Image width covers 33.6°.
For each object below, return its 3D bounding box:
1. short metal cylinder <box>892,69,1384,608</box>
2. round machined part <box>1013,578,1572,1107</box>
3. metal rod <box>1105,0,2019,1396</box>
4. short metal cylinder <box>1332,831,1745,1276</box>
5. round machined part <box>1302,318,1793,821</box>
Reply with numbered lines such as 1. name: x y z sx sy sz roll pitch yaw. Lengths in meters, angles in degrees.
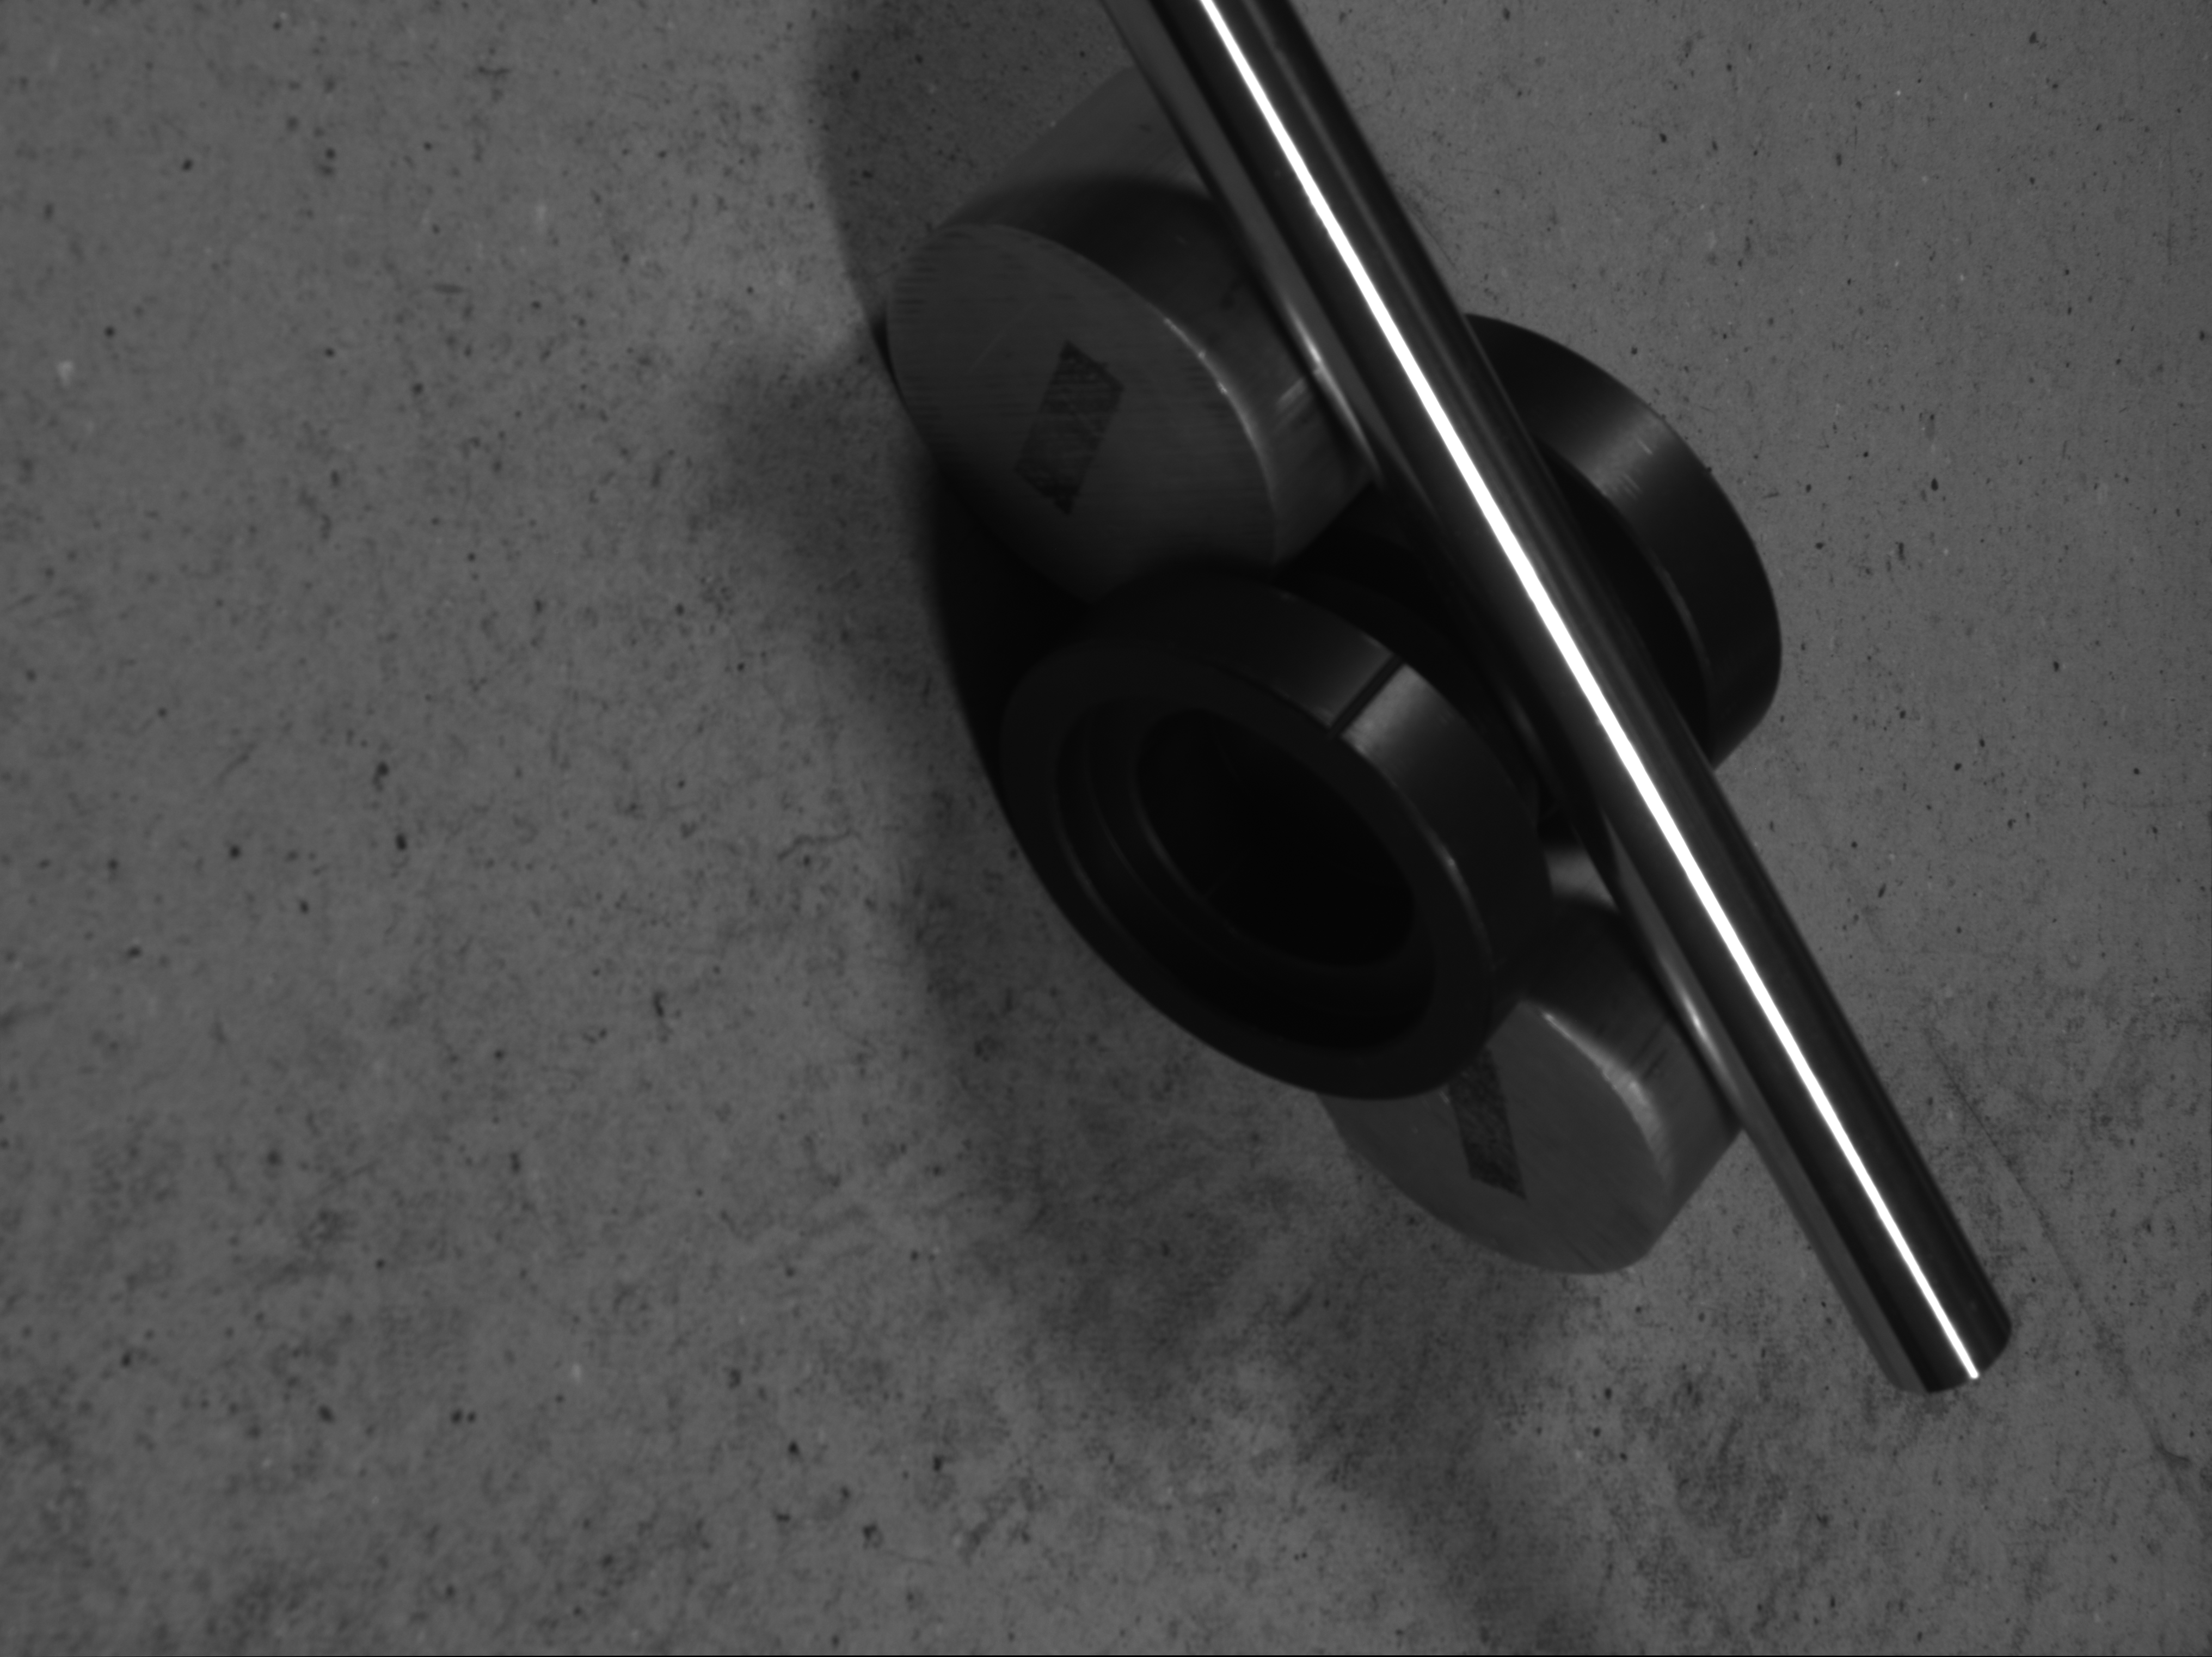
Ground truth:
1. short metal cylinder: 0.011 -0.080 0.611 0.050 0.080 0.080 -46 118 -30
2. round machined part: 0.036 -0.003 0.619 0.042 0.098 0.098 -49 119 -33
3. metal rod: 0.079 -0.022 0.600 0.025 0.025 0.300 -47 118 -29
4. short metal cylinder: 0.082 0.035 0.670 0.050 0.080 0.080 -46 118 -30
5. round machined part: 0.069 -0.038 0.648 0.042 0.098 0.098 -44 116 -26
